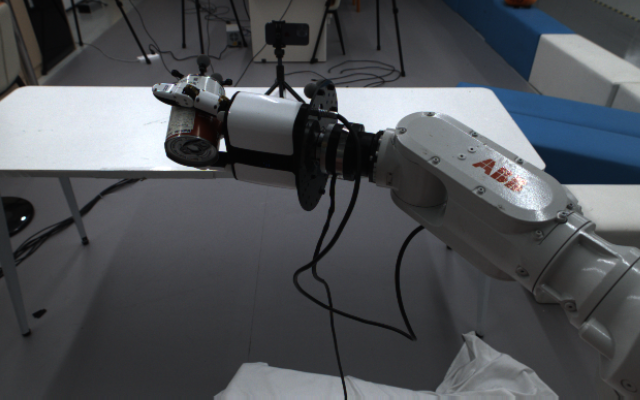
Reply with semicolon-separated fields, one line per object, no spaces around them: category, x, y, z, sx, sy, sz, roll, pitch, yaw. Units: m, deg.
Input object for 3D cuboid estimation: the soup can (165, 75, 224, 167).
soup can;-0.160;-0.103;0.625;0.067;0.067;0.101;1;61;-2
